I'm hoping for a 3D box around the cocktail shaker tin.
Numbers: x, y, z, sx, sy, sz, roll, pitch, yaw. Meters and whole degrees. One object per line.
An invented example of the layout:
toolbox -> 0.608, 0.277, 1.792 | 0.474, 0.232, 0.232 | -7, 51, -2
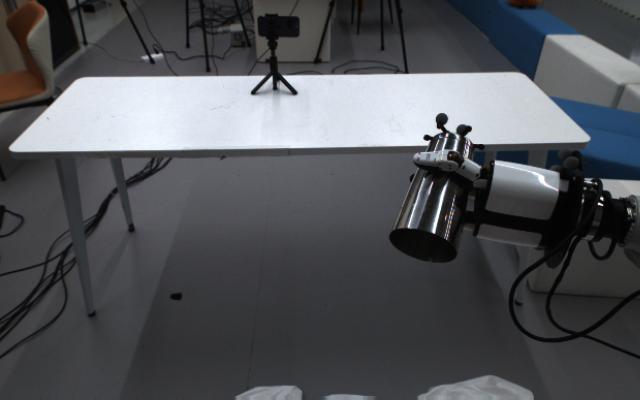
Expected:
cocktail shaker tin -> 0.165, -0.010, 0.673 | 0.093, 0.093, 0.170 | 15, 63, 18
